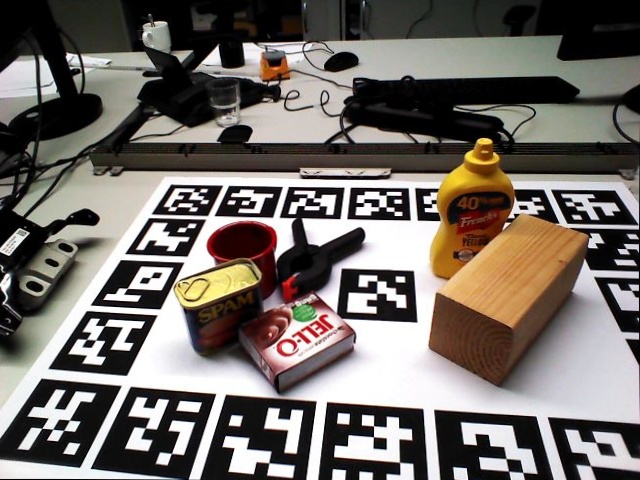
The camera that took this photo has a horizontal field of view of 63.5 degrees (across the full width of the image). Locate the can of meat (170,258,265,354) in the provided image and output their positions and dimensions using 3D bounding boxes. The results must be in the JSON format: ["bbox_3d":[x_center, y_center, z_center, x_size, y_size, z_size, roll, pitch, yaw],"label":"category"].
[{"bbox_3d":[-0.116,0.079,0.612,0.101,0.084,0.058,-18,40,-17],"label":"can of meat"}]

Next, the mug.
[{"bbox_3d":[-0.092,0.037,0.713,0.094,0.082,0.116,16,43,25],"label":"mug"}]

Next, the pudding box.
[{"bbox_3d":[-0.020,0.116,0.600,0.113,0.039,0.090,-23,41,-25],"label":"pudding box"}]

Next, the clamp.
[{"bbox_3d":[-0.005,0.019,0.736,0.122,0.037,0.164,15,43,21],"label":"clamp"}]

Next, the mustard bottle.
[{"bbox_3d":[0.203,-0.044,0.659,0.096,0.192,0.058,-2,38,4],"label":"mustard bottle"}]

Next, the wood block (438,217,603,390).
[{"bbox_3d":[0.236,0.063,0.606,0.090,0.091,0.205,26,45,37],"label":"wood block"}]
